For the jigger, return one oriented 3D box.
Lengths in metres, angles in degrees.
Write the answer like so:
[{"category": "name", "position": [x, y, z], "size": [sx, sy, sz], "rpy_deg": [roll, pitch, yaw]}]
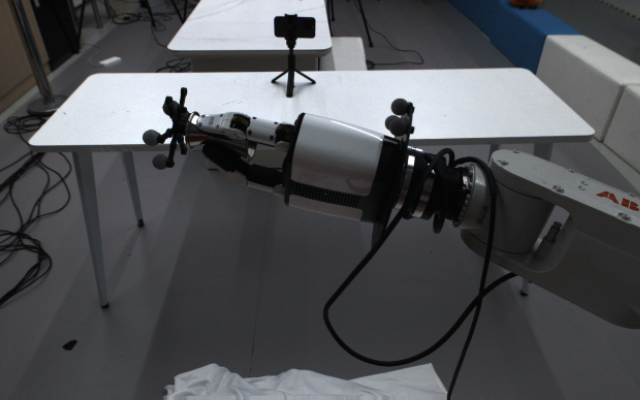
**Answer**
[{"category": "jigger", "position": [-0.097, -0.072, 0.520], "size": [0.071, 0.043, 0.043], "rpy_deg": [11, 35, 3]}]
